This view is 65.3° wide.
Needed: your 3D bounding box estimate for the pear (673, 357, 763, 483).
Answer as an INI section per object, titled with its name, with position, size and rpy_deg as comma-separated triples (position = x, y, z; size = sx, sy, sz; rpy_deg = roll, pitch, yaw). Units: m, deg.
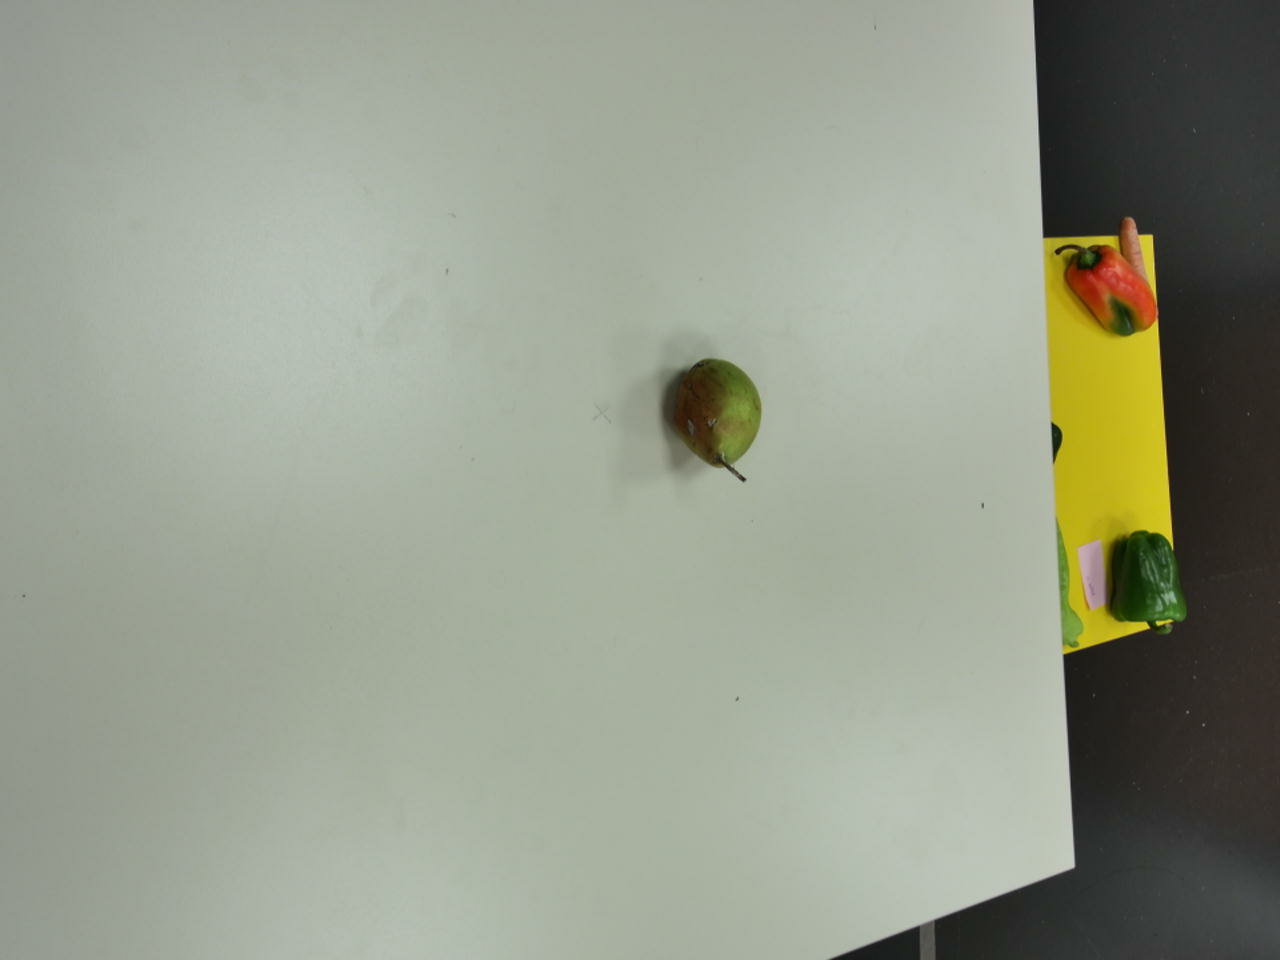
[pear]
position = 0.054, -0.047, 0.697
size = 0.070, 0.069, 0.068
rpy_deg = -47, 111, -20
